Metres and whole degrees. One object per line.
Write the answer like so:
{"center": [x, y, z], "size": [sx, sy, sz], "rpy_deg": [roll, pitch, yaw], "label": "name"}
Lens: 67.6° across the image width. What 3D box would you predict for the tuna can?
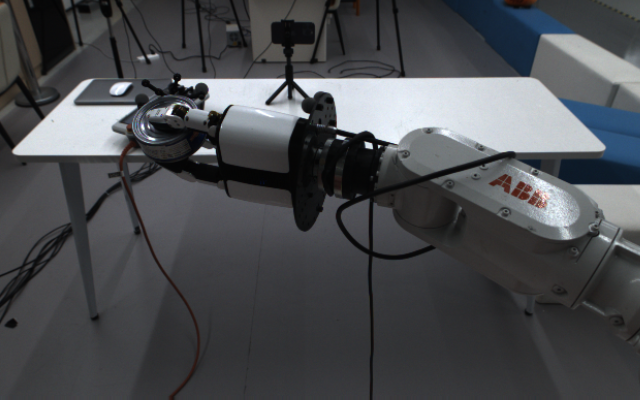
{"center": [-0.183, -0.084, 0.599], "size": [0.085, 0.034, 0.085], "rpy_deg": [-3, 58, 5], "label": "tuna can"}
